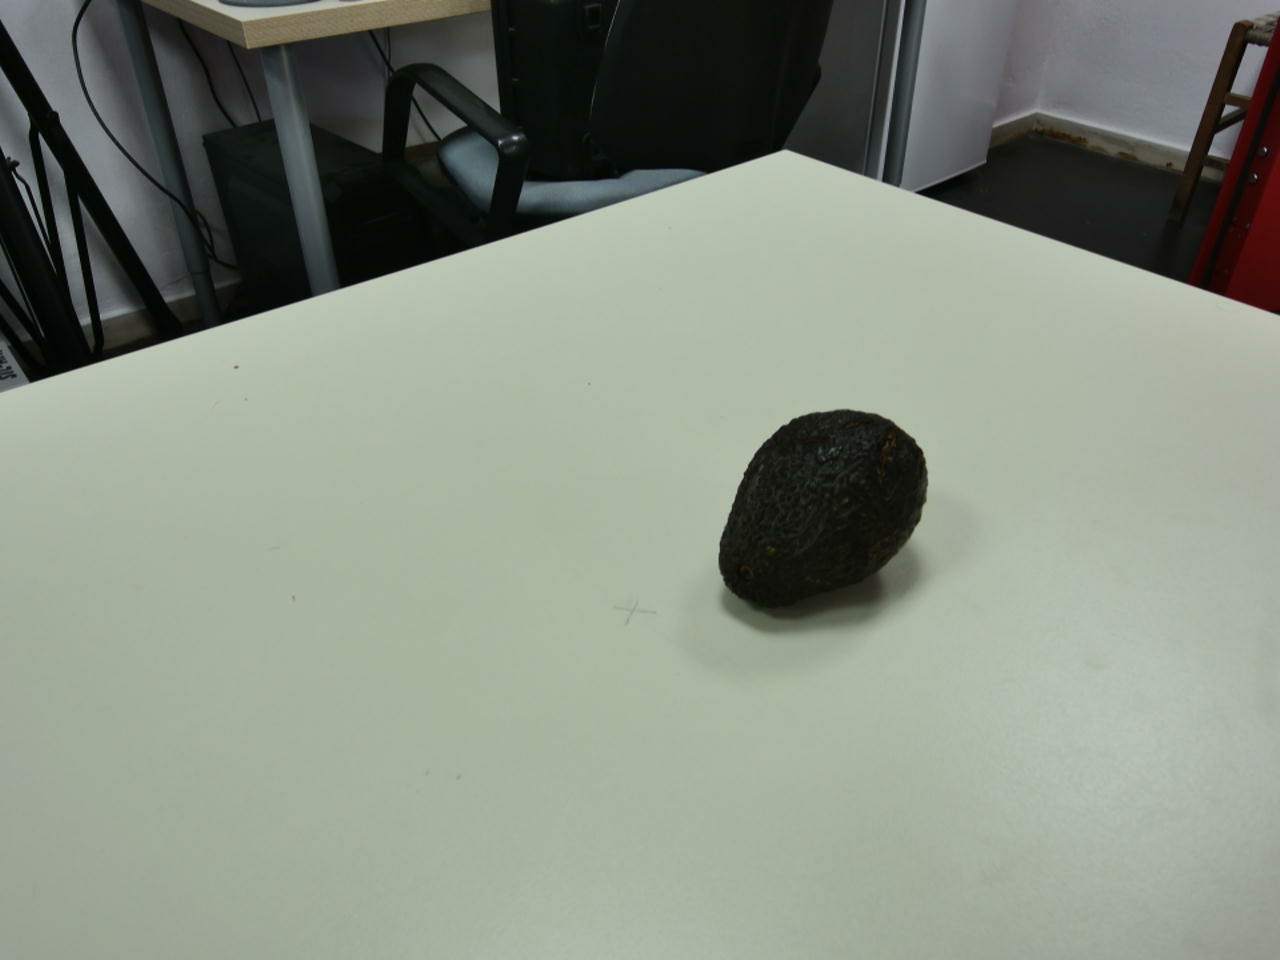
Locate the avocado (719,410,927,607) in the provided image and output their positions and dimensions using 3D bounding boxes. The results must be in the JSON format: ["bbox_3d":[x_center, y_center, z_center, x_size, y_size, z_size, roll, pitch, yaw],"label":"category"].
[{"bbox_3d":[0.073,0.007,0.409,0.090,0.069,0.070,-7,35,-10],"label":"avocado"}]
